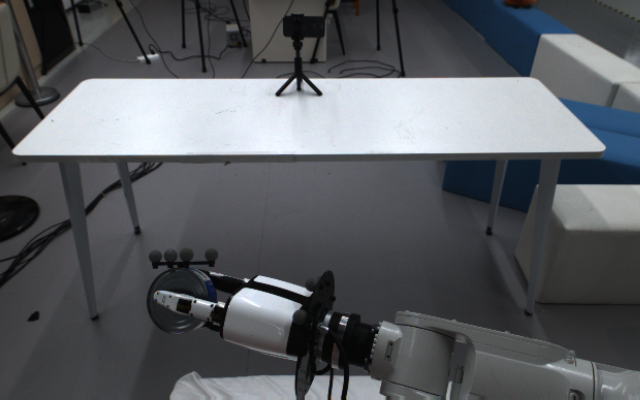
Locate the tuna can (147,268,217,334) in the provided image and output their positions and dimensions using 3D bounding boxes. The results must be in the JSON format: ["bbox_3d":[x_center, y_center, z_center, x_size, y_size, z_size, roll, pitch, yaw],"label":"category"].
[{"bbox_3d":[-0.176,0.135,0.642,0.085,0.085,0.034,10,-6,11],"label":"tuna can"}]
